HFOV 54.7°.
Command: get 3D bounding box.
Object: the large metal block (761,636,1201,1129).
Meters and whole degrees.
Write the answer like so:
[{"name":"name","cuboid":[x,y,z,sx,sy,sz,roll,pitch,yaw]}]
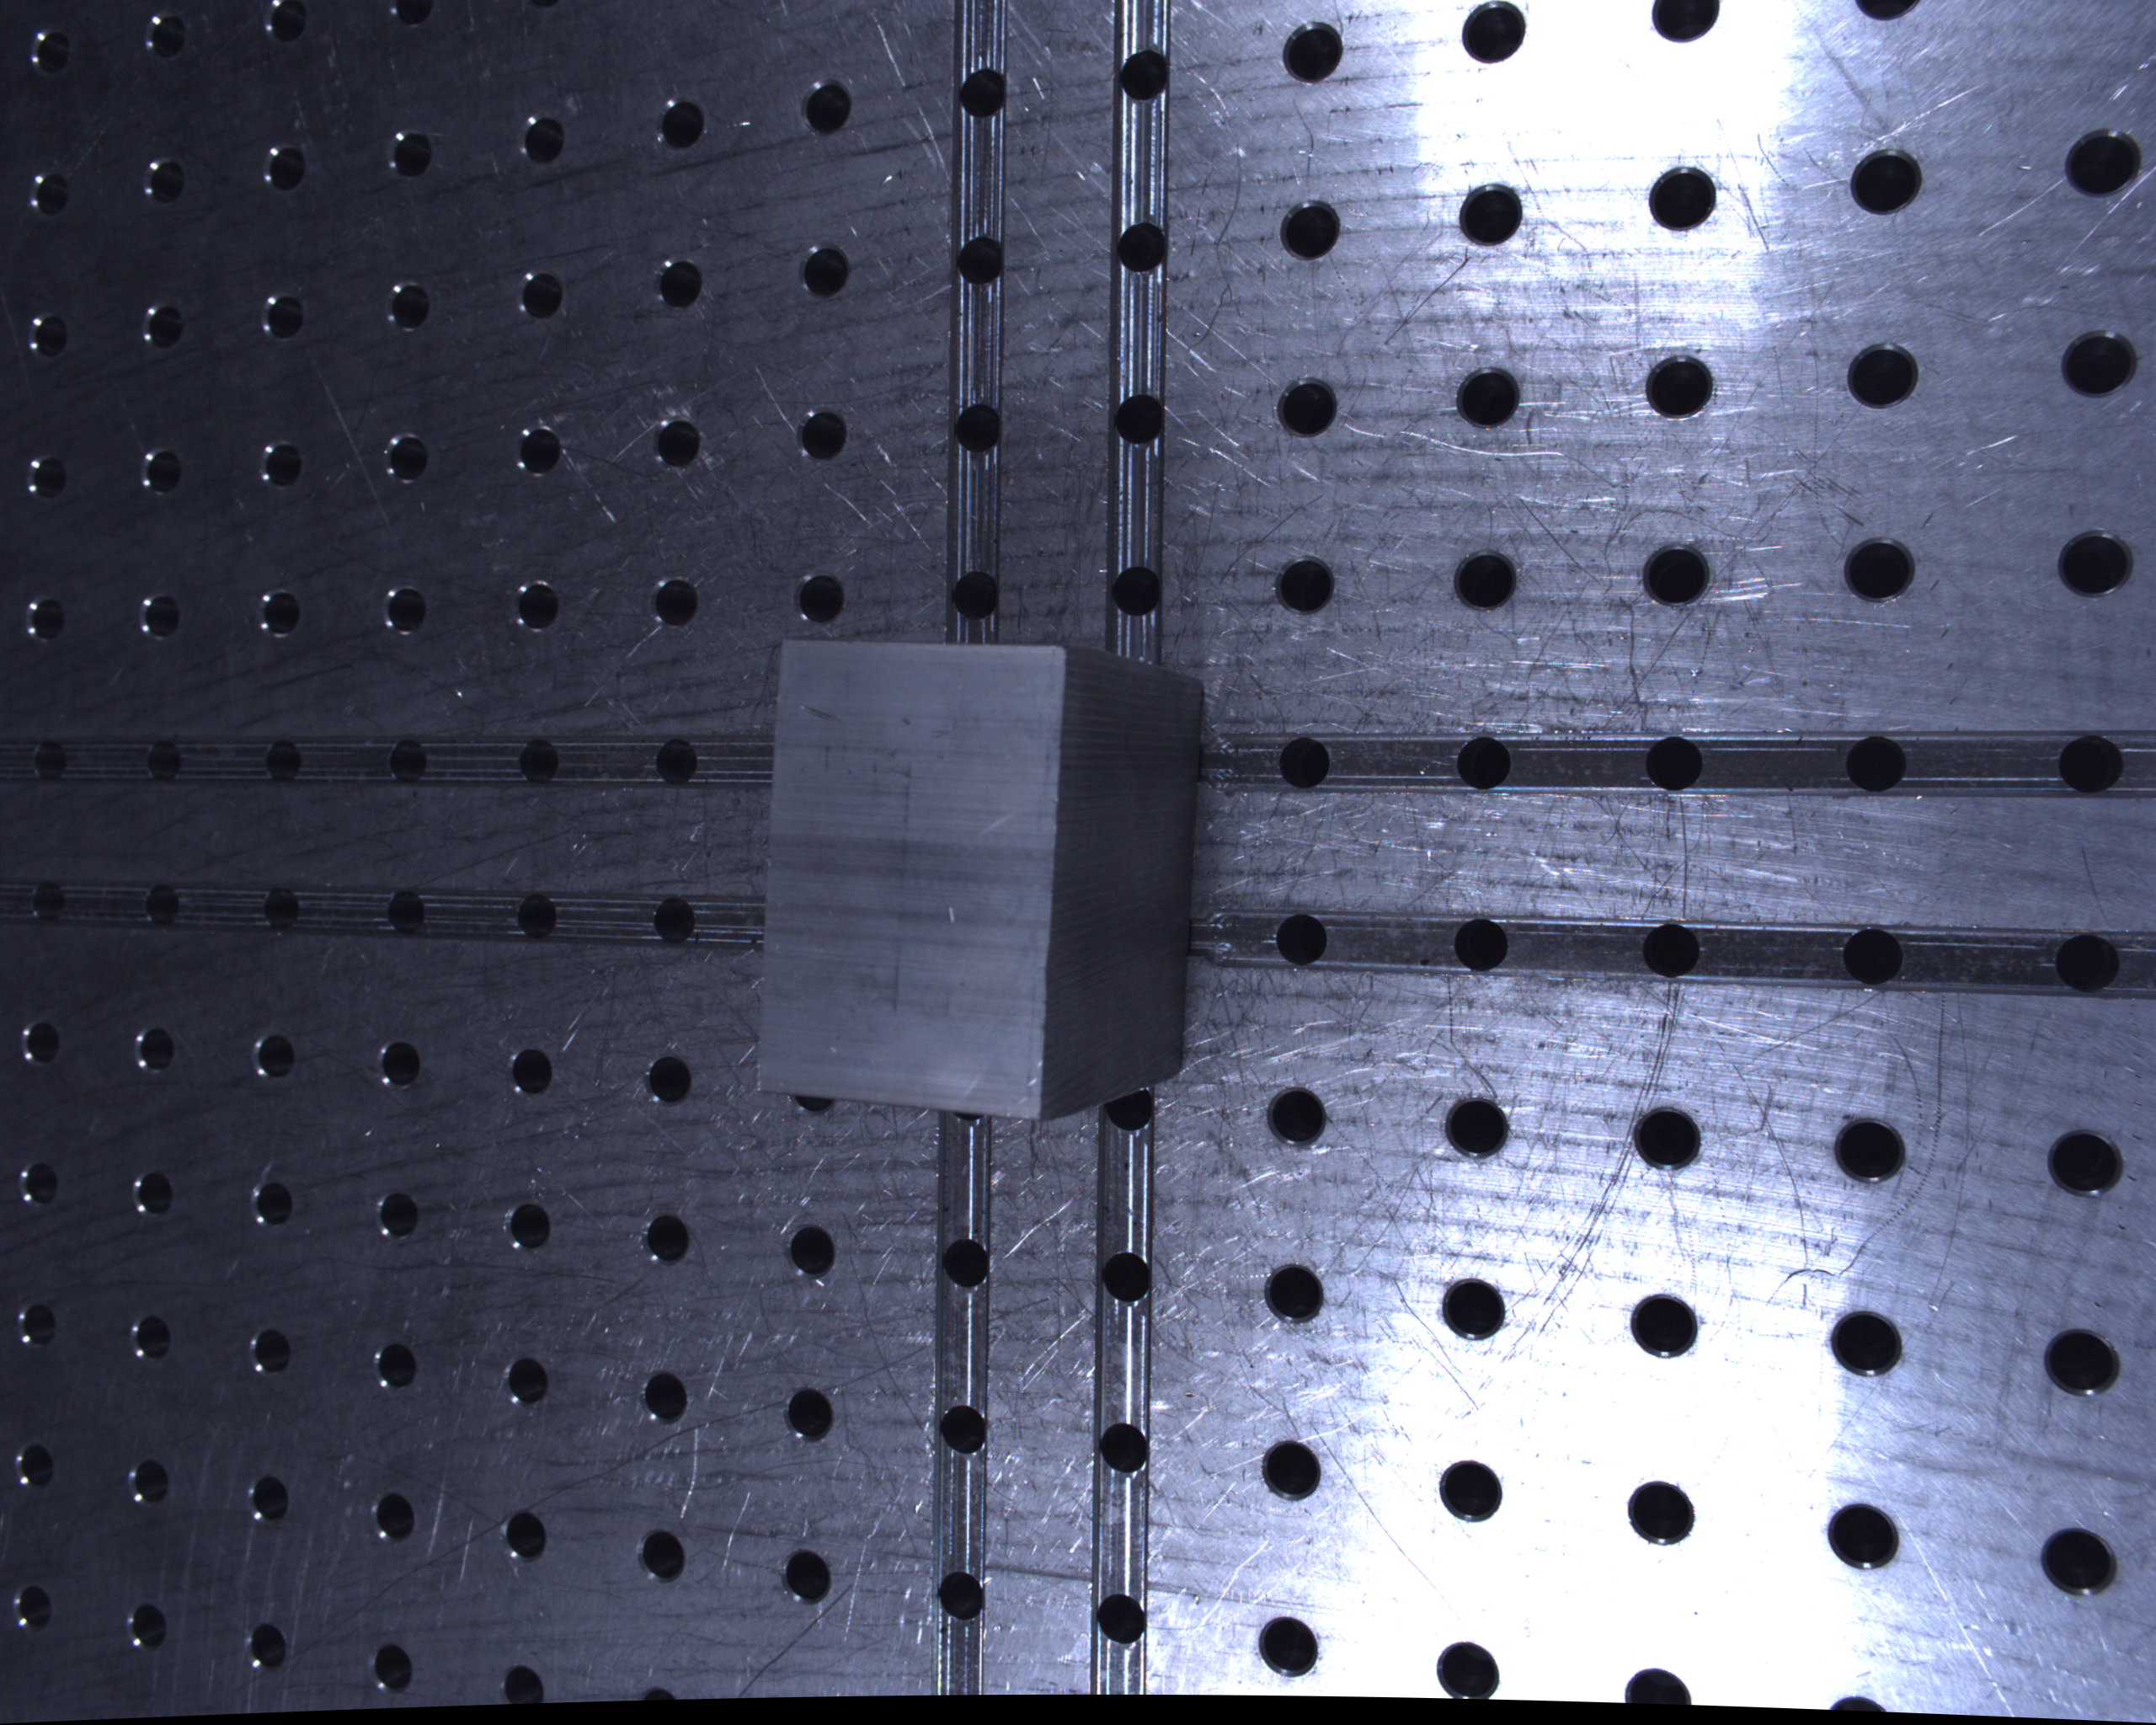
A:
[{"name":"large metal block","cuboid":[-0.015,0.002,0.387,0.050,0.080,0.079,4,91,20]}]
